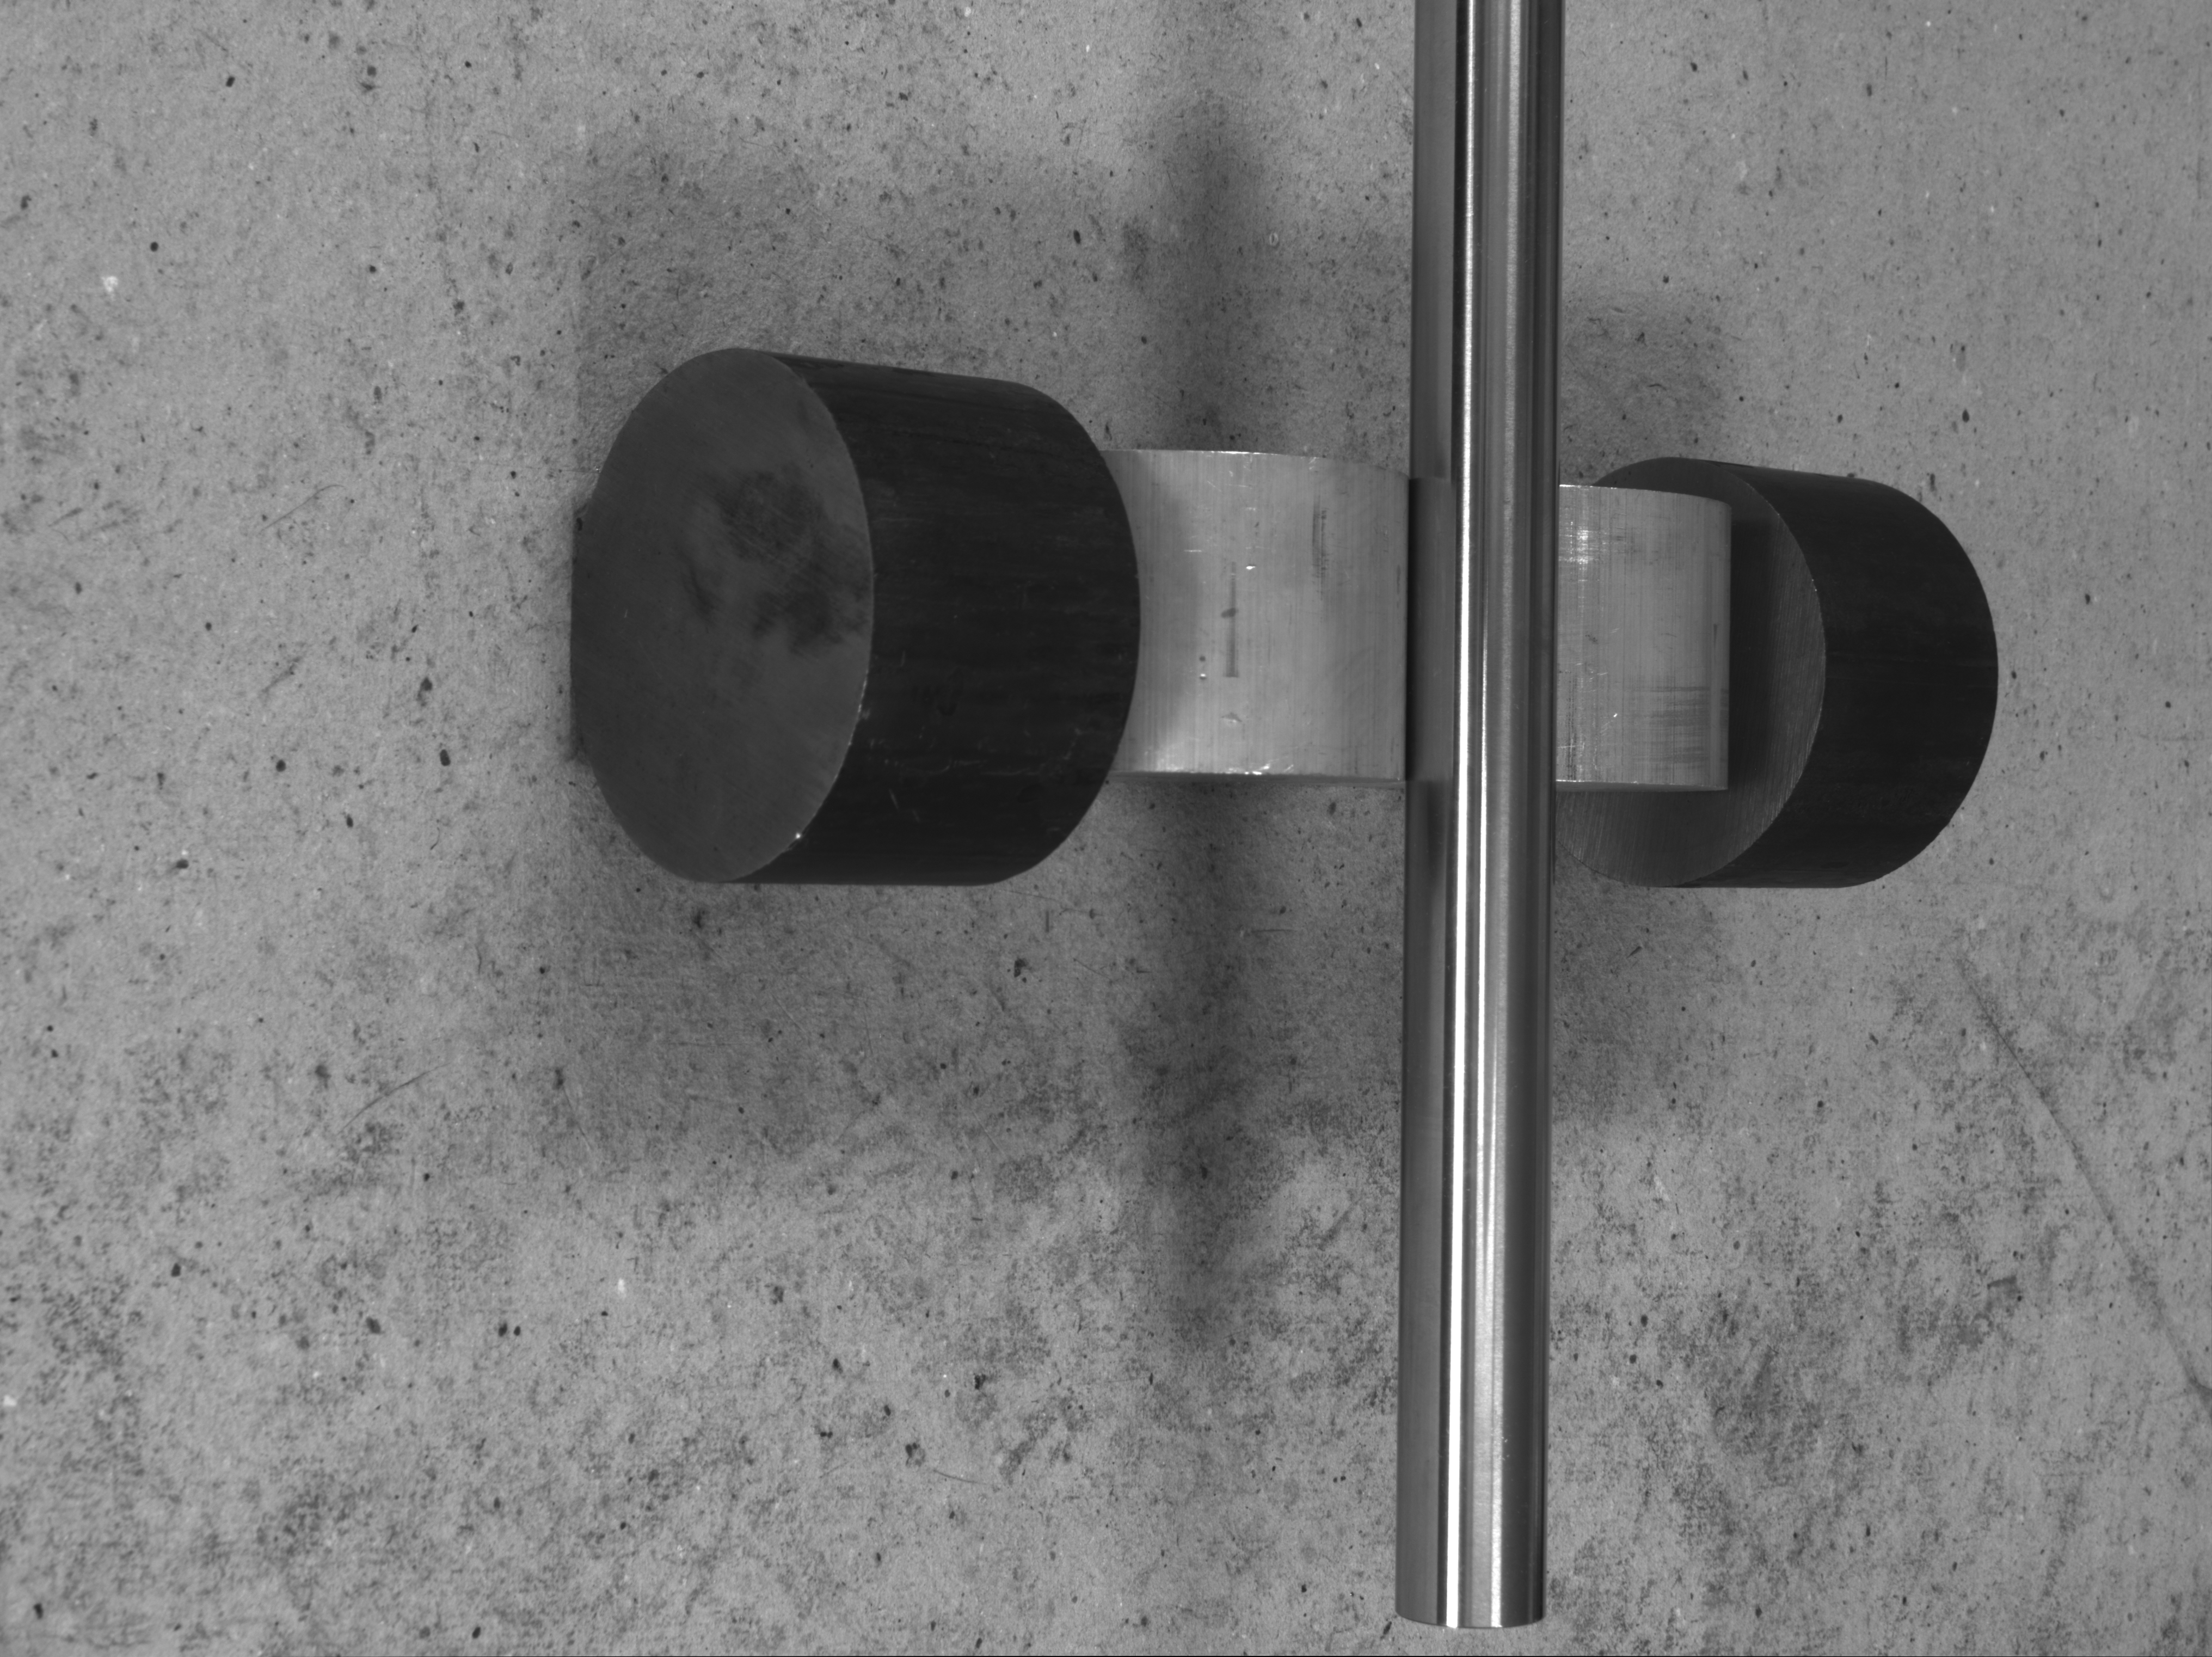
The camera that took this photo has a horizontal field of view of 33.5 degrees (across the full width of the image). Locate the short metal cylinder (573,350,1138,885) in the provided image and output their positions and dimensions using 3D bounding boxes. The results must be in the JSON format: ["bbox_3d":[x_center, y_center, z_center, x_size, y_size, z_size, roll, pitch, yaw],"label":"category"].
[{"bbox_3d":[-0.040,-0.031,0.568,0.050,0.080,0.080,1,89,-40],"label":"short metal cylinder"}]

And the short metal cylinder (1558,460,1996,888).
[{"bbox_3d":[0.122,-0.028,0.702,0.050,0.080,0.080,1,89,-40],"label":"short metal cylinder"}]

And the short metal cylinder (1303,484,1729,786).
[{"bbox_3d":[0.072,-0.033,0.660,0.080,0.080,0.050,1,89,-40],"label":"short metal cylinder"}]

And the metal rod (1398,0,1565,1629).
[{"bbox_3d":[0.062,-0.020,0.609,0.025,0.025,0.300,1,89,-40],"label":"metal rod"}]

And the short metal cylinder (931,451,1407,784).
[{"bbox_3d":[0.010,-0.033,0.609,0.080,0.080,0.050,1,89,-40],"label":"short metal cylinder"}]
